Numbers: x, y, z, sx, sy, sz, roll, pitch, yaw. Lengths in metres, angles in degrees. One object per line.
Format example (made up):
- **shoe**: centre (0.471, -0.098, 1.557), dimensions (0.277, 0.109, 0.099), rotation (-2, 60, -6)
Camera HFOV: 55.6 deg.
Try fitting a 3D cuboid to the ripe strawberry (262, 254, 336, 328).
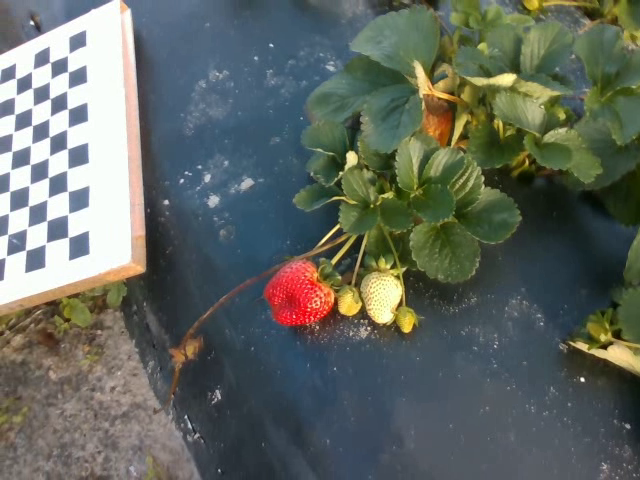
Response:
- **ripe strawberry**: centre (-0.020, 0.040, 0.442), dimensions (0.050, 0.048, 0.035), rotation (-33, -29, 1)
